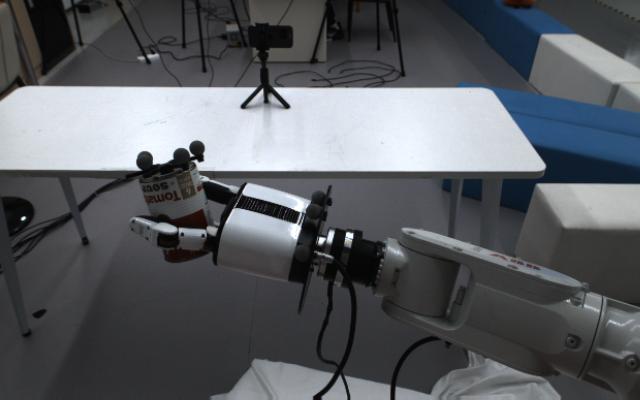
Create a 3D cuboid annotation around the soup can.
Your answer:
[{"bbox_3d":[-0.162,0.014,0.567,0.067,0.101,0.067,-12,17,4],"label":"soup can"}]
